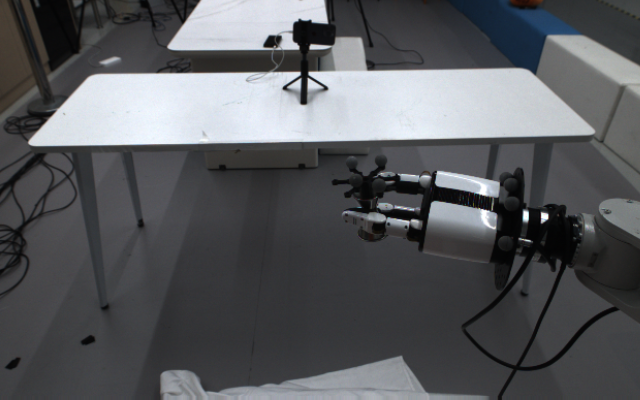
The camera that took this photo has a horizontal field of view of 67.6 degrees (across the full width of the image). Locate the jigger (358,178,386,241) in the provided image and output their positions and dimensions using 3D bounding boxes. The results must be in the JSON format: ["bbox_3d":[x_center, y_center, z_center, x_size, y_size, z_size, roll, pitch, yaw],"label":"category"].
[{"bbox_3d":[0.070,0.015,0.664,0.043,0.071,0.043,-9,31,5],"label":"jigger"}]
